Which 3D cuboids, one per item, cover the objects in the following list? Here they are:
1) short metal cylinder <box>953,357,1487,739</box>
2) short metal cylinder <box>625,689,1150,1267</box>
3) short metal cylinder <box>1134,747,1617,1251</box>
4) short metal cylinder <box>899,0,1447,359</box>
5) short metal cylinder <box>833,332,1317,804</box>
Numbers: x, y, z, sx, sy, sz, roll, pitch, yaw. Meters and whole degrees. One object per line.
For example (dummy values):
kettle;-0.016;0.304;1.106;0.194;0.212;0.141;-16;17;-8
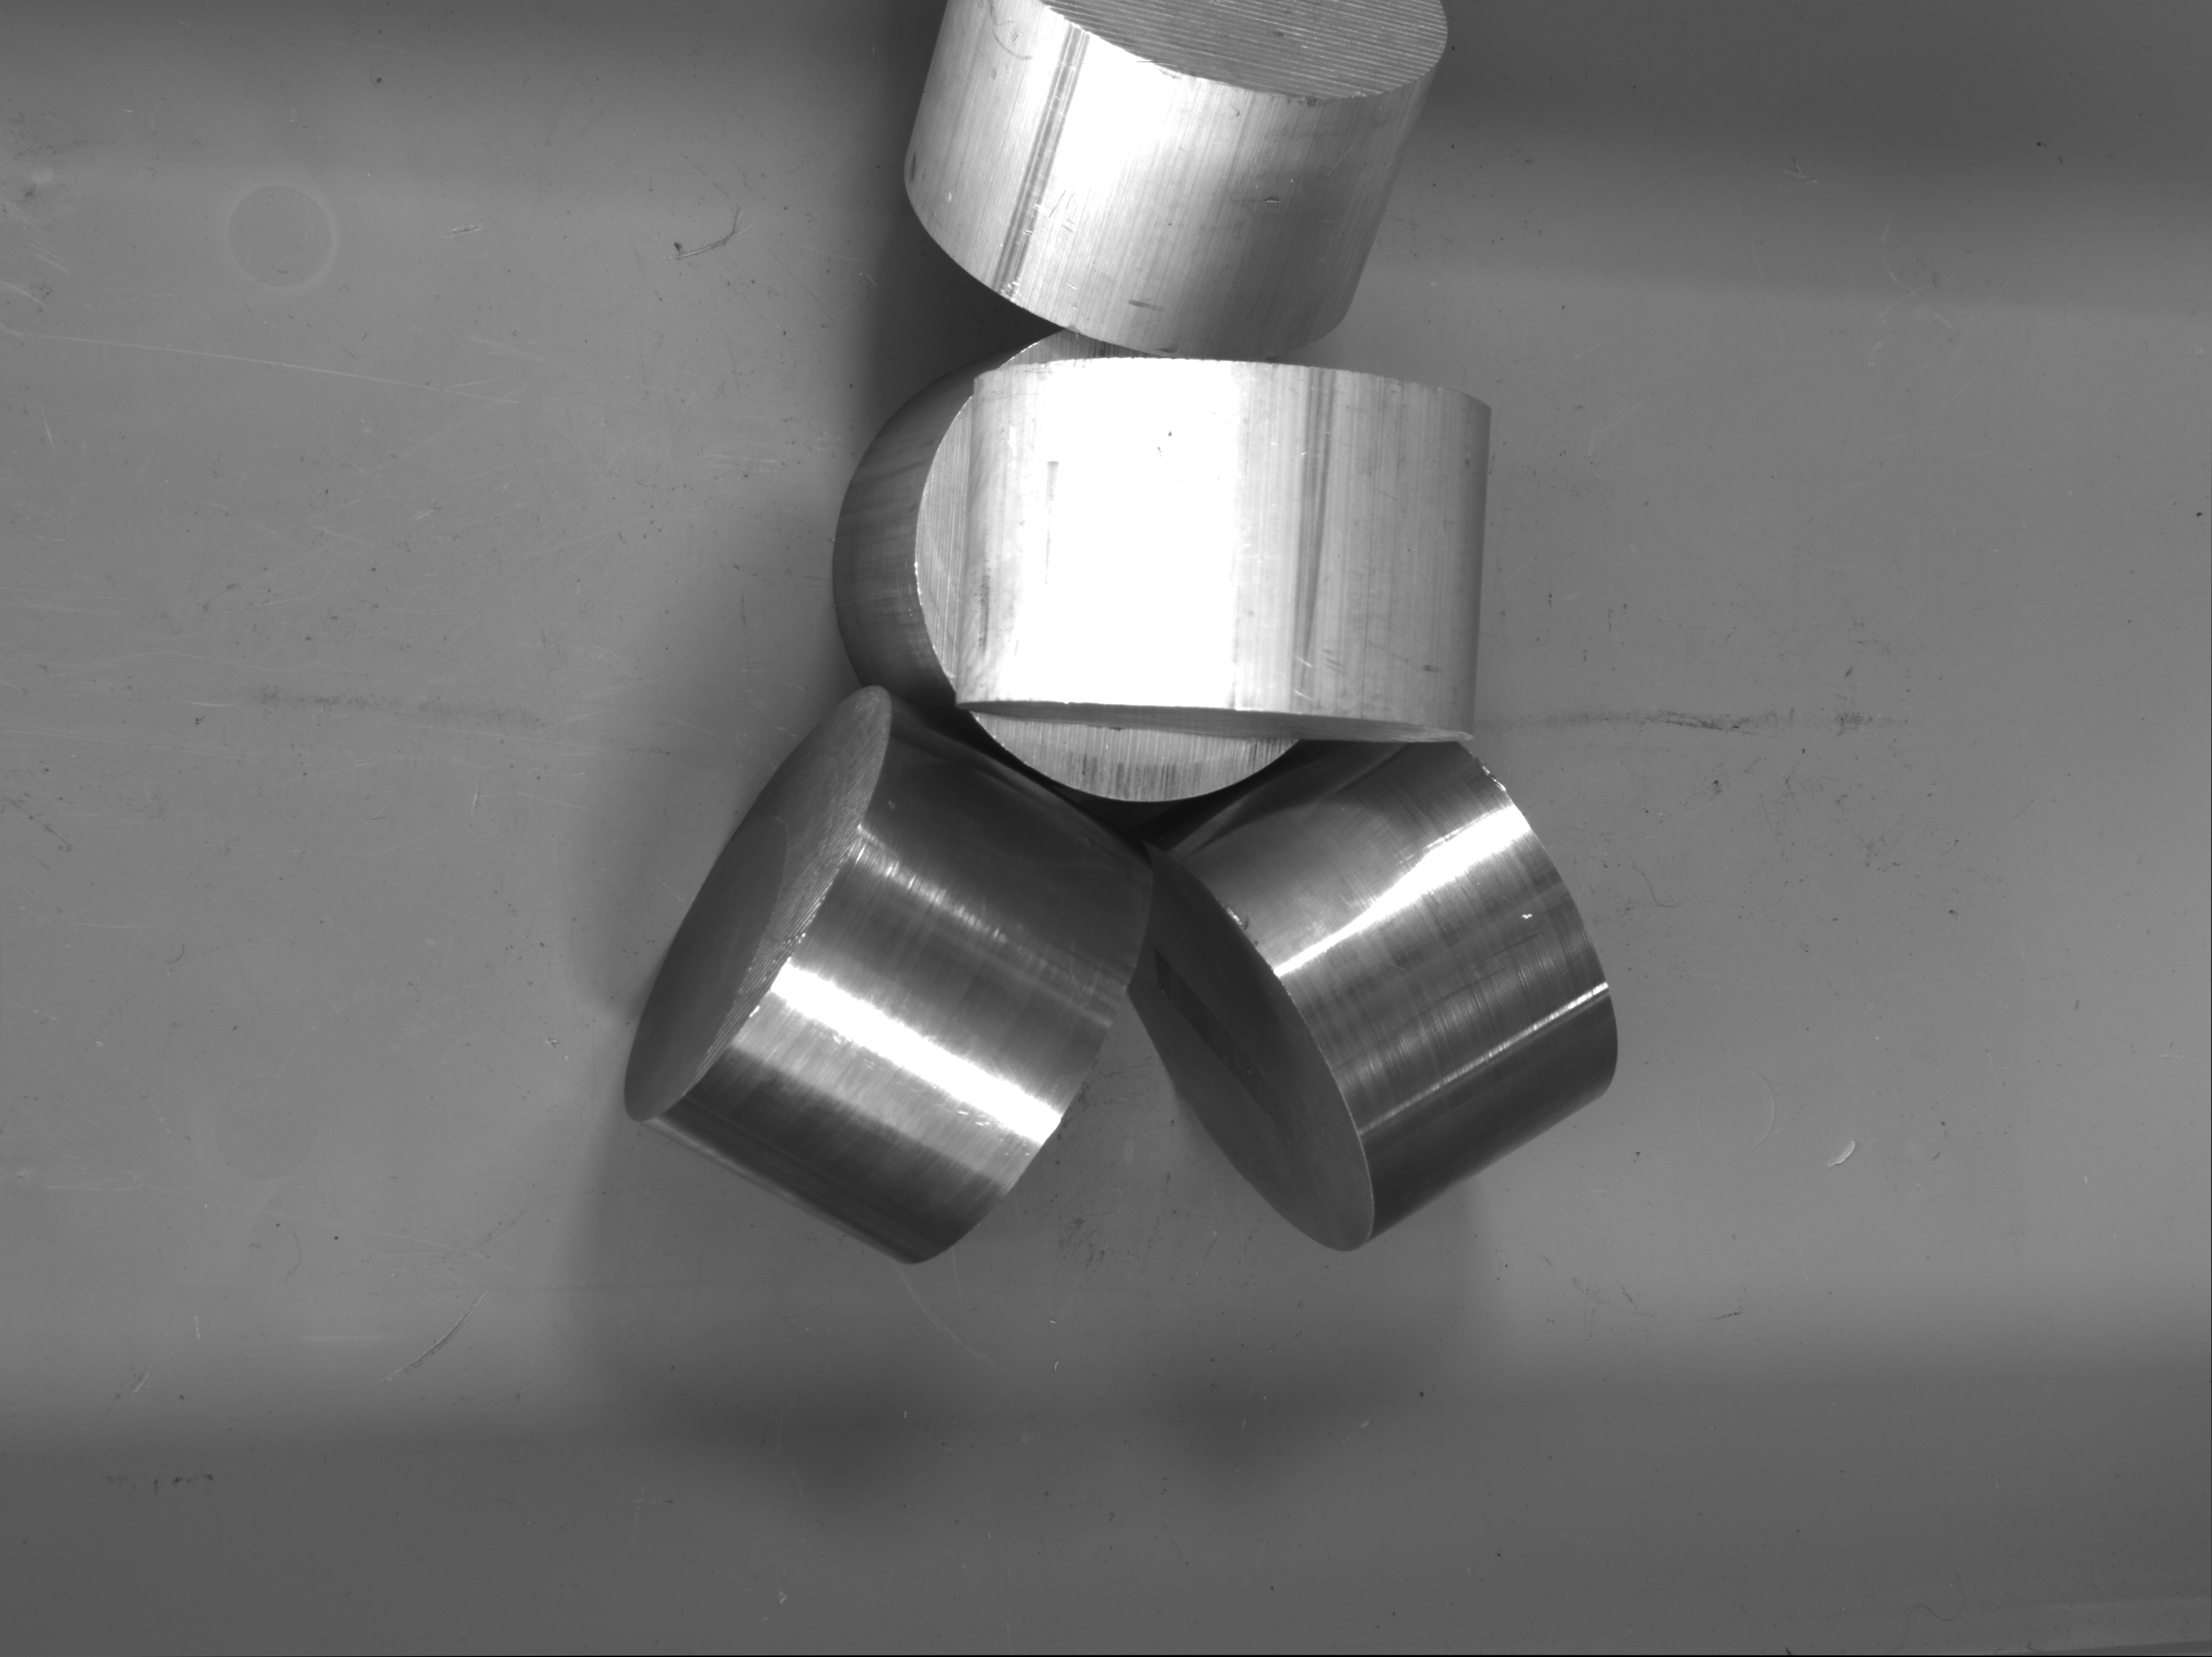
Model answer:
short metal cylinder;0.017;-0.041;0.565;0.080;0.080;0.050;4;89;-20
short metal cylinder;-0.036;0.024;0.599;0.050;0.080;0.080;30;80;-17
short metal cylinder;0.043;0.025;0.628;0.050;0.080;0.080;-30;100;-17
short metal cylinder;0.011;-0.122;0.610;0.080;0.080;0.050;4;131;-20
short metal cylinder;-0.001;-0.044;0.627;0.080;0.050;0.080;0;90;-20
